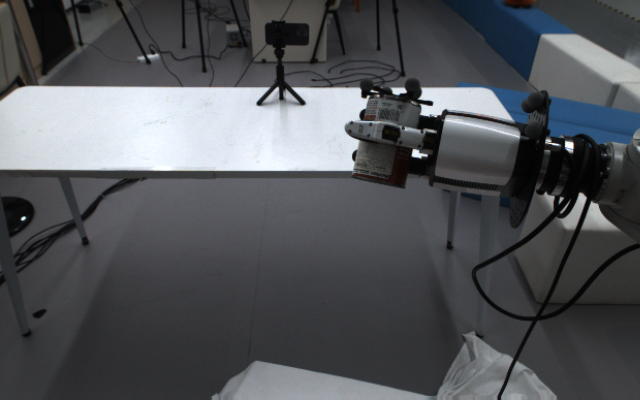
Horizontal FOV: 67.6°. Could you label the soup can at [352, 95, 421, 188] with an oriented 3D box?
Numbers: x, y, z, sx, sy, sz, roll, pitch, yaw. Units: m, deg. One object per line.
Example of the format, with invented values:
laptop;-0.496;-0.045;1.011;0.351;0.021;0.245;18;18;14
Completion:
soup can;0.082;-0.071;0.592;0.067;0.101;0.067;11;2;0
